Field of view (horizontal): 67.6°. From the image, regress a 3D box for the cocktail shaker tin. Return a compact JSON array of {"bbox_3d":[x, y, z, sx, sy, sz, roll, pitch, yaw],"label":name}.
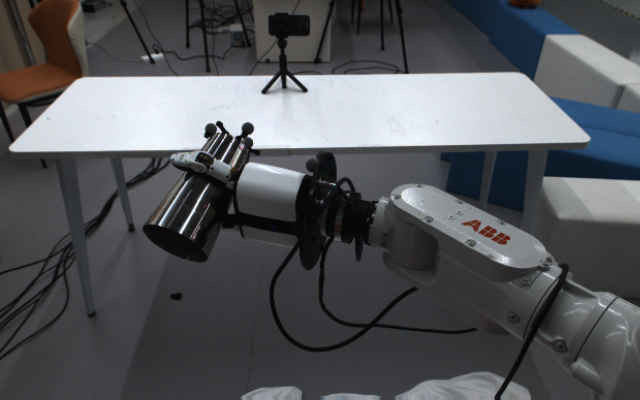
[{"bbox_3d":[-0.163,-0.010,0.672,0.093,0.093,0.170,13,58,16],"label":"cocktail shaker tin"}]
